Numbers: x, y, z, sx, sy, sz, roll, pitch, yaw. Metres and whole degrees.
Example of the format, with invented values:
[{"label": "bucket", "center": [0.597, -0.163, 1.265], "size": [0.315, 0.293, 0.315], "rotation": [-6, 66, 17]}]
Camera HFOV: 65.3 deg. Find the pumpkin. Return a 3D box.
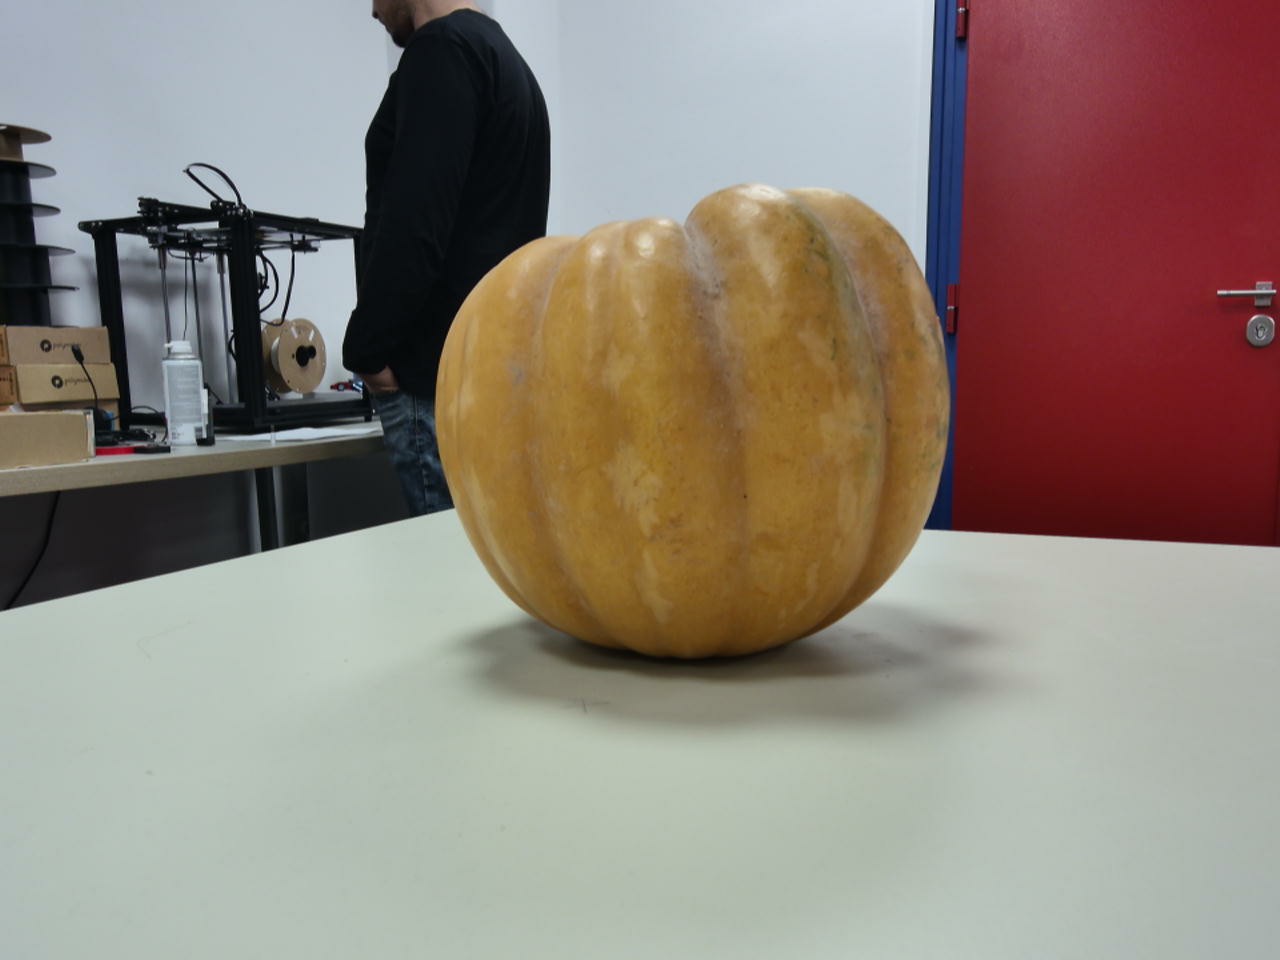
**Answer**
[{"label": "pumpkin", "center": [0.024, -0.023, 0.444], "size": [0.230, 0.194, 0.230], "rotation": [0, 3, 0]}]
